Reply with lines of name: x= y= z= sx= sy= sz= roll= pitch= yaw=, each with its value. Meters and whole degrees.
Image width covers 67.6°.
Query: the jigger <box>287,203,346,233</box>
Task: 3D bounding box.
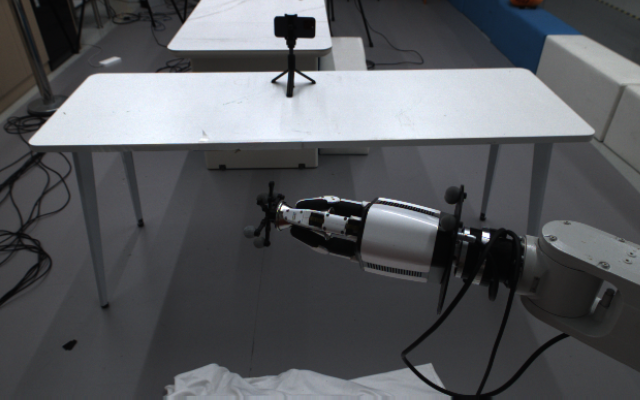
jigger: x=-0.013 y=0.021 z=0.628 sx=0.071 sy=0.043 sz=0.043 roll=8 pitch=35 yaw=16
